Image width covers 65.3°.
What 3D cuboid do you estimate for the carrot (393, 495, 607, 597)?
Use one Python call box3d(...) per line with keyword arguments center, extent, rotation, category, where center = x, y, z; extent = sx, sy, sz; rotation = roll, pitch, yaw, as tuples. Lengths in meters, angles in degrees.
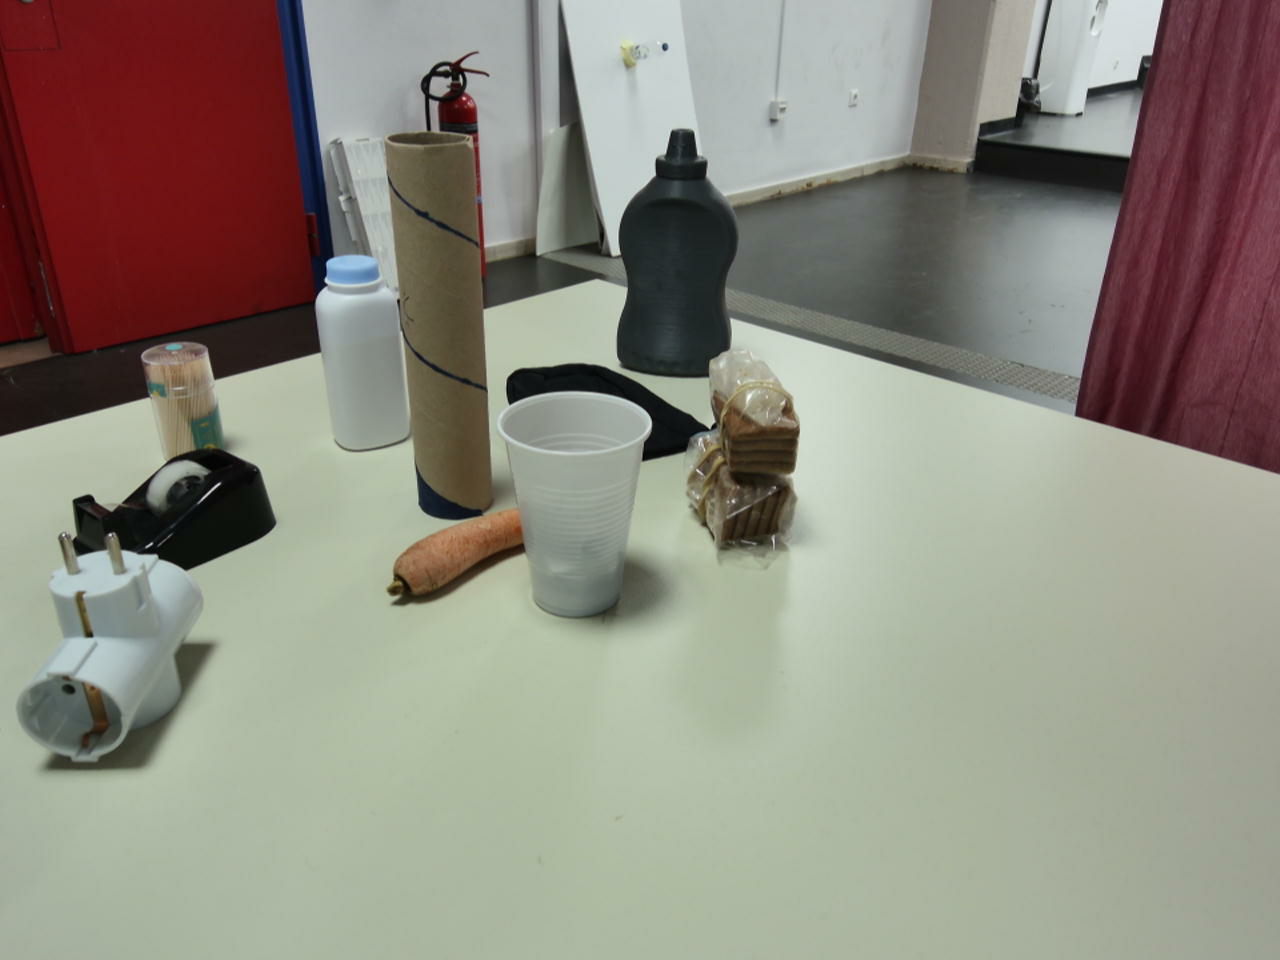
box3d(center=(-0.082, 0.030, 0.599), extent=(0.031, 0.029, 0.163), rotation=(22, 33, 37), category="carrot")
